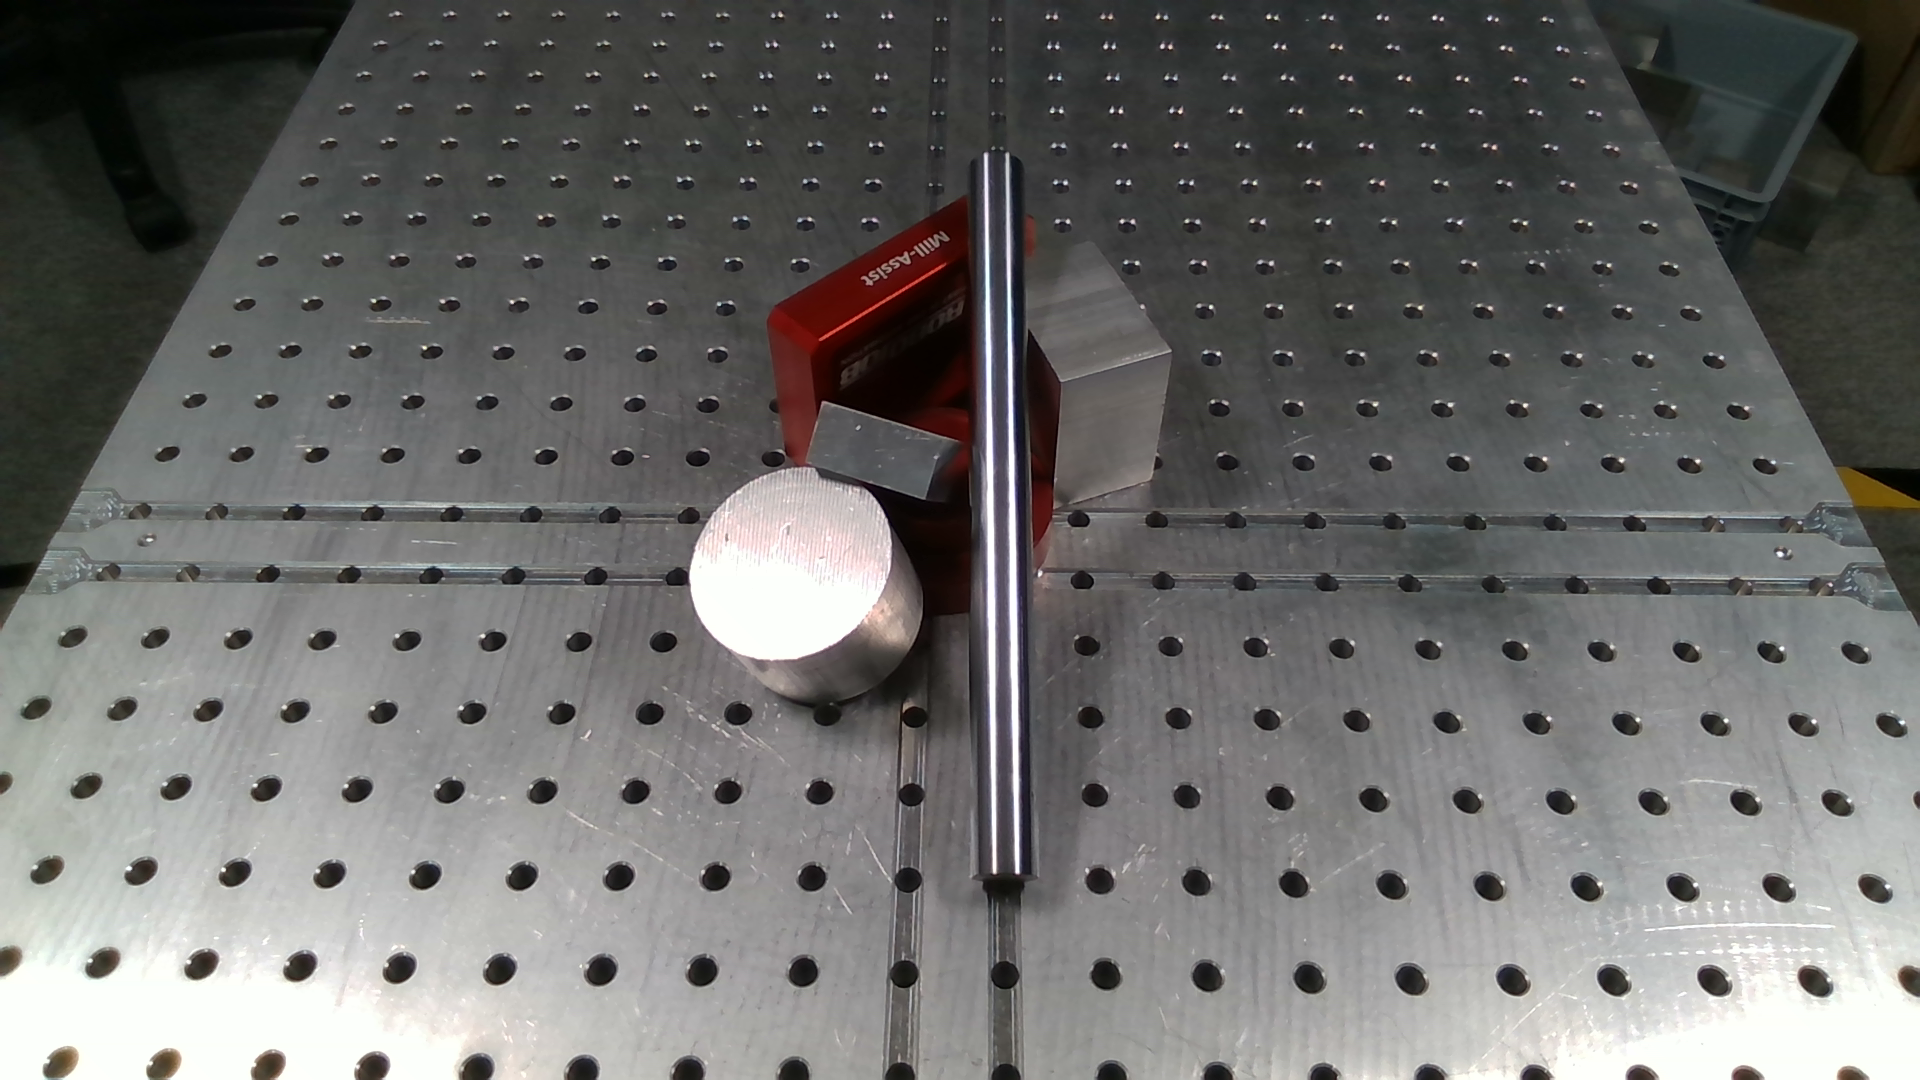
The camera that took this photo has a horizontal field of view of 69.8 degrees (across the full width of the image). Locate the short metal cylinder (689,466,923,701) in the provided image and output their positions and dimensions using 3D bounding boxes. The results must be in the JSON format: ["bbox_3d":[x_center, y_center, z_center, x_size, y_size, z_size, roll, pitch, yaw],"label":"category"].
[{"bbox_3d":[-0.059,0.018,0.543,0.080,0.050,0.080,-5,65,11],"label":"short metal cylinder"}]

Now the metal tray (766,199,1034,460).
[{"bbox_3d":[-0.024,-0.092,0.624,0.130,0.090,0.030,-36,59,-26],"label":"metal tray"}]

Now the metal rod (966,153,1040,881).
[{"bbox_3d":[0.016,-0.020,0.544,0.025,0.025,0.299,0,70,0],"label":"metal rod"}]

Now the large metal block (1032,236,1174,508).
[{"bbox_3d":[0.050,-0.074,0.615,0.050,0.080,0.080,-17,52,-14],"label":"large metal block"}]

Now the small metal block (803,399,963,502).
[{"bbox_3d":[-0.028,-0.035,0.546,0.050,0.050,0.025,18,94,12],"label":"small metal block"}]

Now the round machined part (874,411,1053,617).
[{"bbox_3d":[-0.009,-0.018,0.597,0.098,0.042,0.098,0,50,0],"label":"round machined part"}]
